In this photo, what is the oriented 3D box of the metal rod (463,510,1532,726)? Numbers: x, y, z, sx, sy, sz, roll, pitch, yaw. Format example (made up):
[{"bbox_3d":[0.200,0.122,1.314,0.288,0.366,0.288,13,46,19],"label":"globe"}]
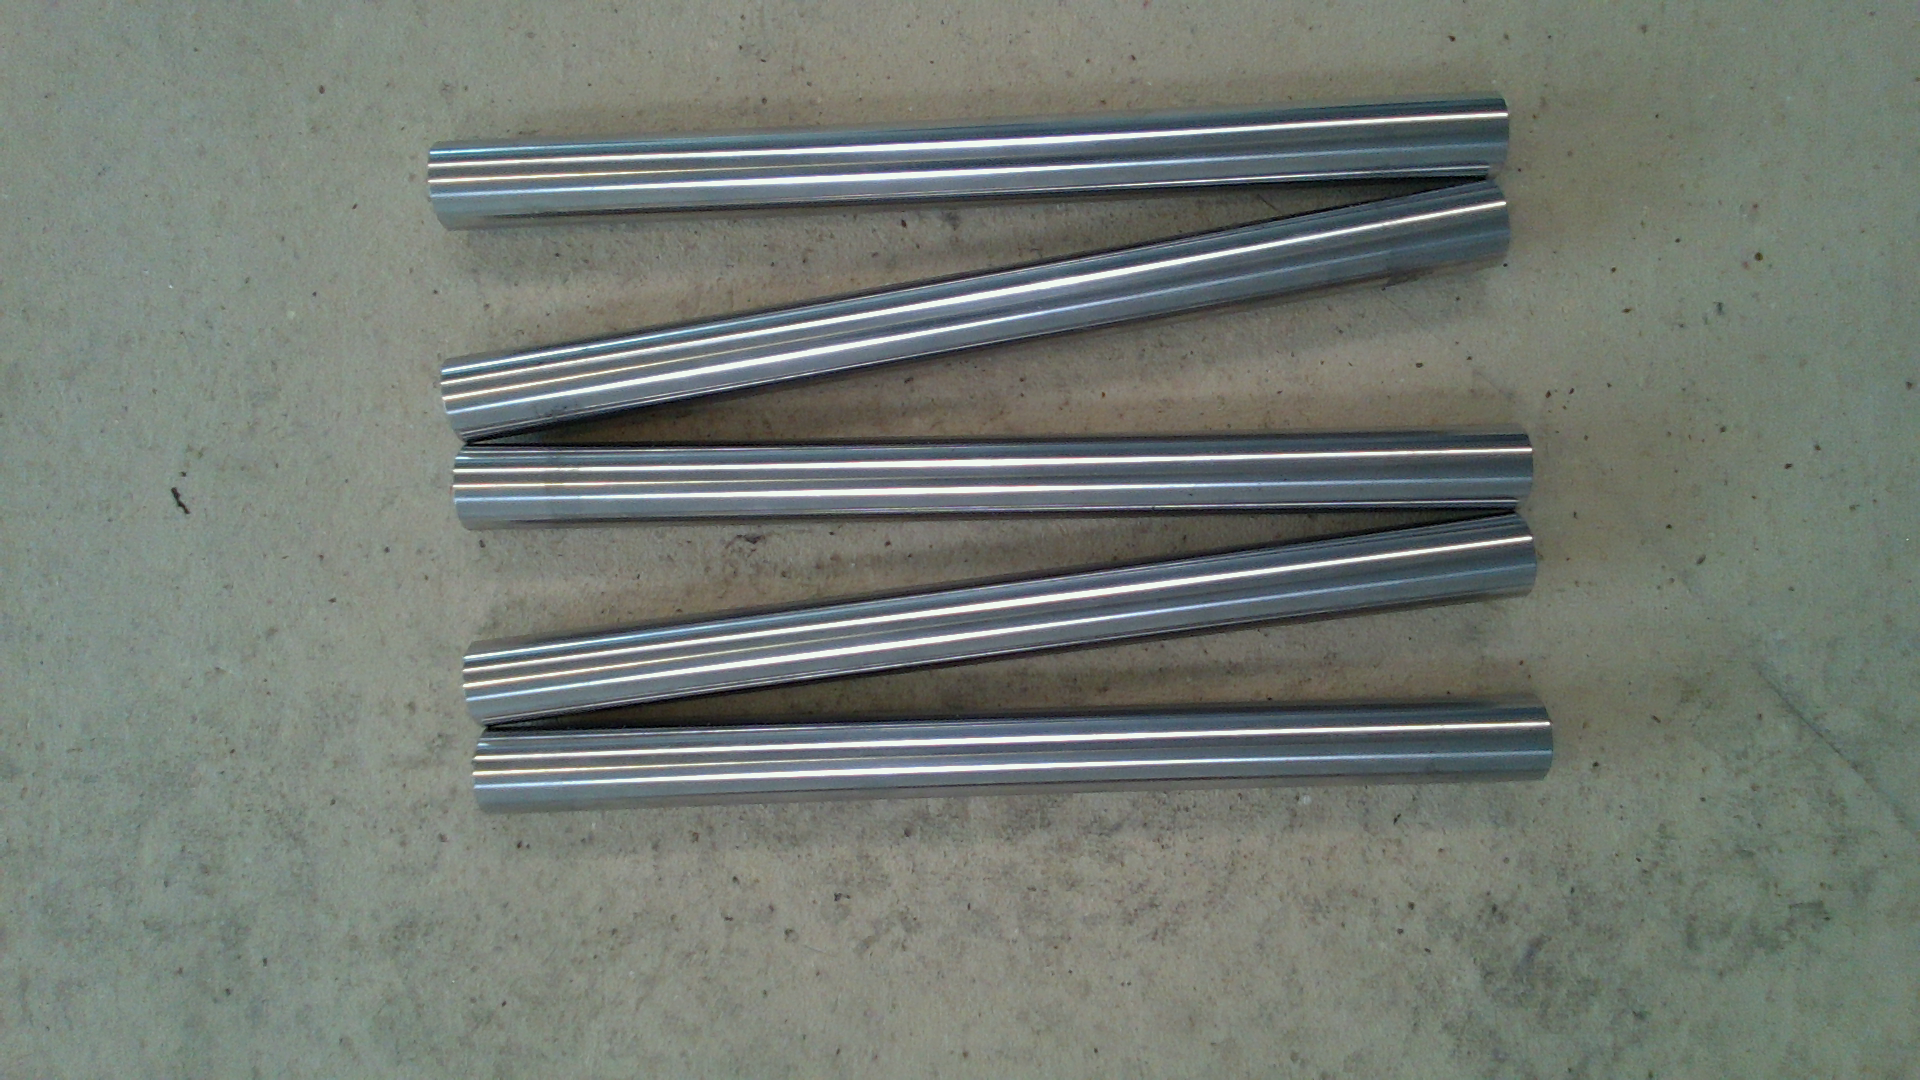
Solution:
[{"bbox_3d":[0.011,0.022,0.396,0.300,0.025,0.025,-7,90,0],"label":"metal rod"}]

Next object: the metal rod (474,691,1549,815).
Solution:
[{"bbox_3d":[0.015,0.061,0.396,0.300,0.025,0.025,-2,90,0],"label":"metal rod"}]

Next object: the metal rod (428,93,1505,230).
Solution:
[{"bbox_3d":[0.002,-0.108,0.395,0.300,0.025,0.025,-3,90,0],"label":"metal rod"}]

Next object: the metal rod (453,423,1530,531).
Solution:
[{"bbox_3d":[0.009,-0.018,0.395,0.300,0.025,0.025,-1,90,0],"label":"metal rod"}]

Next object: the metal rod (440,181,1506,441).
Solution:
[{"bbox_3d":[0.004,-0.065,0.395,0.300,0.025,0.025,-10,90,0],"label":"metal rod"}]
